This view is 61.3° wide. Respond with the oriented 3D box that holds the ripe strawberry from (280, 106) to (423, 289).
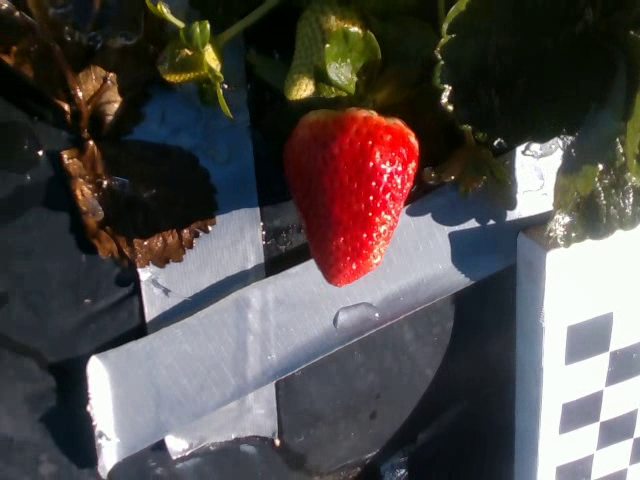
[{"bbox_3d":[0.015,-0.011,0.197,0.061,0.065,0.057,13,-20,-25],"label":"ripe strawberry"}]
